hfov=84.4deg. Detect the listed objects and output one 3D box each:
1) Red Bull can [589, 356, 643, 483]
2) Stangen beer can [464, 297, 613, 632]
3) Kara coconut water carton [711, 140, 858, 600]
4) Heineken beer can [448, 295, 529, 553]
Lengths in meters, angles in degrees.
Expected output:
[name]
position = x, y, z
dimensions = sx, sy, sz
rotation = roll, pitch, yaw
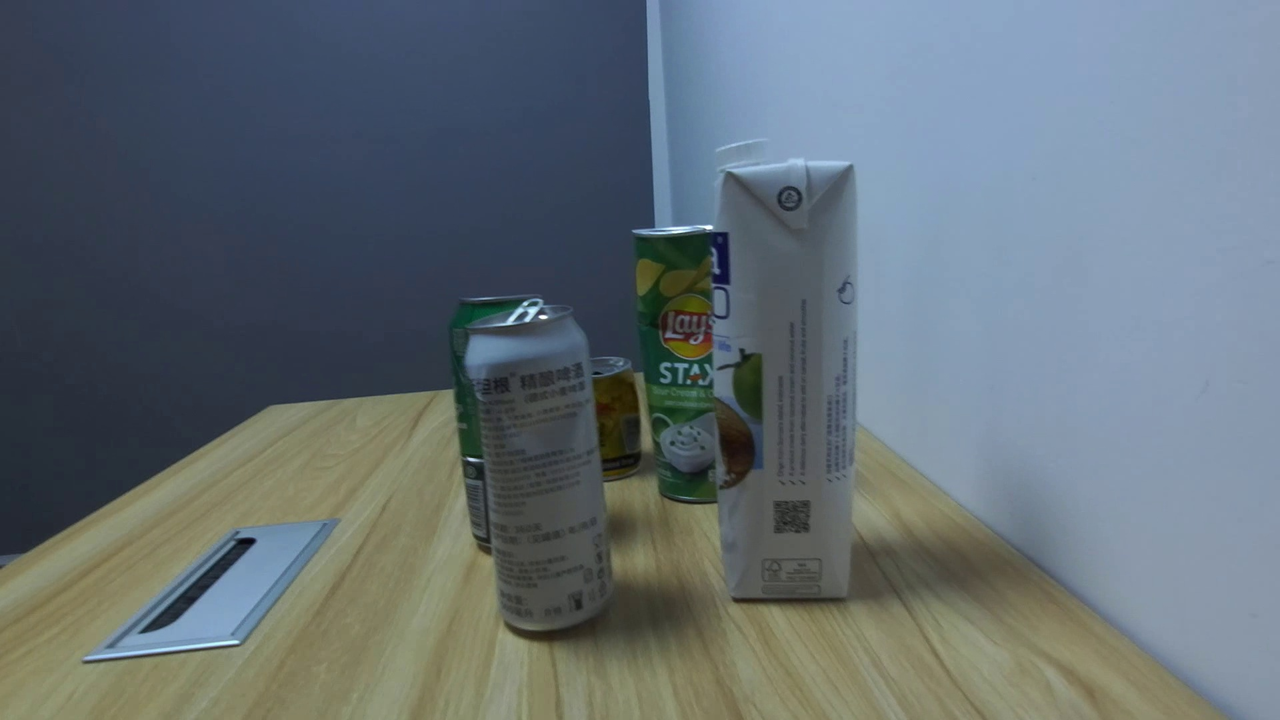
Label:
[Red Bull can]
position = -0.033, 0.047, 0.596
dimensions = 0.072, 0.092, 0.072
rotation = -3, 15, 1
[Stangen beer can]
position = -0.055, 0.056, 0.380
dimensions = 0.070, 0.173, 0.069
rotation = -14, 15, -37
[Kara coconut water carton]
position = 0.078, 0.006, 0.390
dimensions = 0.075, 0.245, 0.077
rotation = -2, 13, 5
[Heineken beer can]
position = -0.089, 0.044, 0.487
dimensions = 0.069, 0.168, 0.068
rotation = -7, 7, -28
